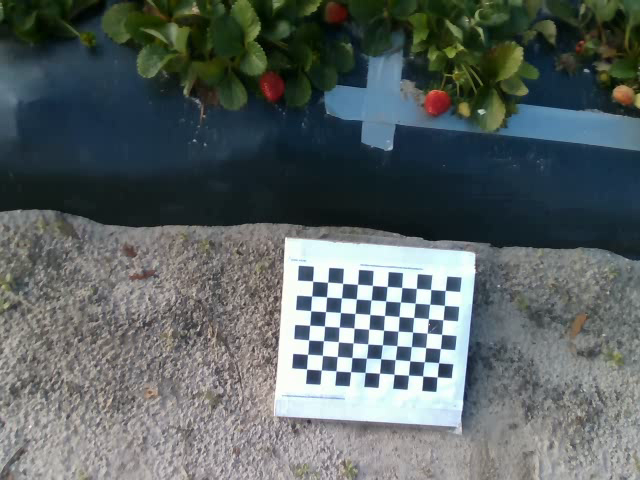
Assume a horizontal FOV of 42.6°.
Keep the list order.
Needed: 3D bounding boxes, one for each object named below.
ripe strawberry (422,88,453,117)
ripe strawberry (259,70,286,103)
[{"bbox_3d":[0.088,-0.100,0.606,0.023,0.021,0.026,12,47,16],"label":"ripe strawberry"},{"bbox_3d":[-0.029,-0.109,0.584,0.018,0.023,0.021,-5,-29,9],"label":"ripe strawberry"}]
